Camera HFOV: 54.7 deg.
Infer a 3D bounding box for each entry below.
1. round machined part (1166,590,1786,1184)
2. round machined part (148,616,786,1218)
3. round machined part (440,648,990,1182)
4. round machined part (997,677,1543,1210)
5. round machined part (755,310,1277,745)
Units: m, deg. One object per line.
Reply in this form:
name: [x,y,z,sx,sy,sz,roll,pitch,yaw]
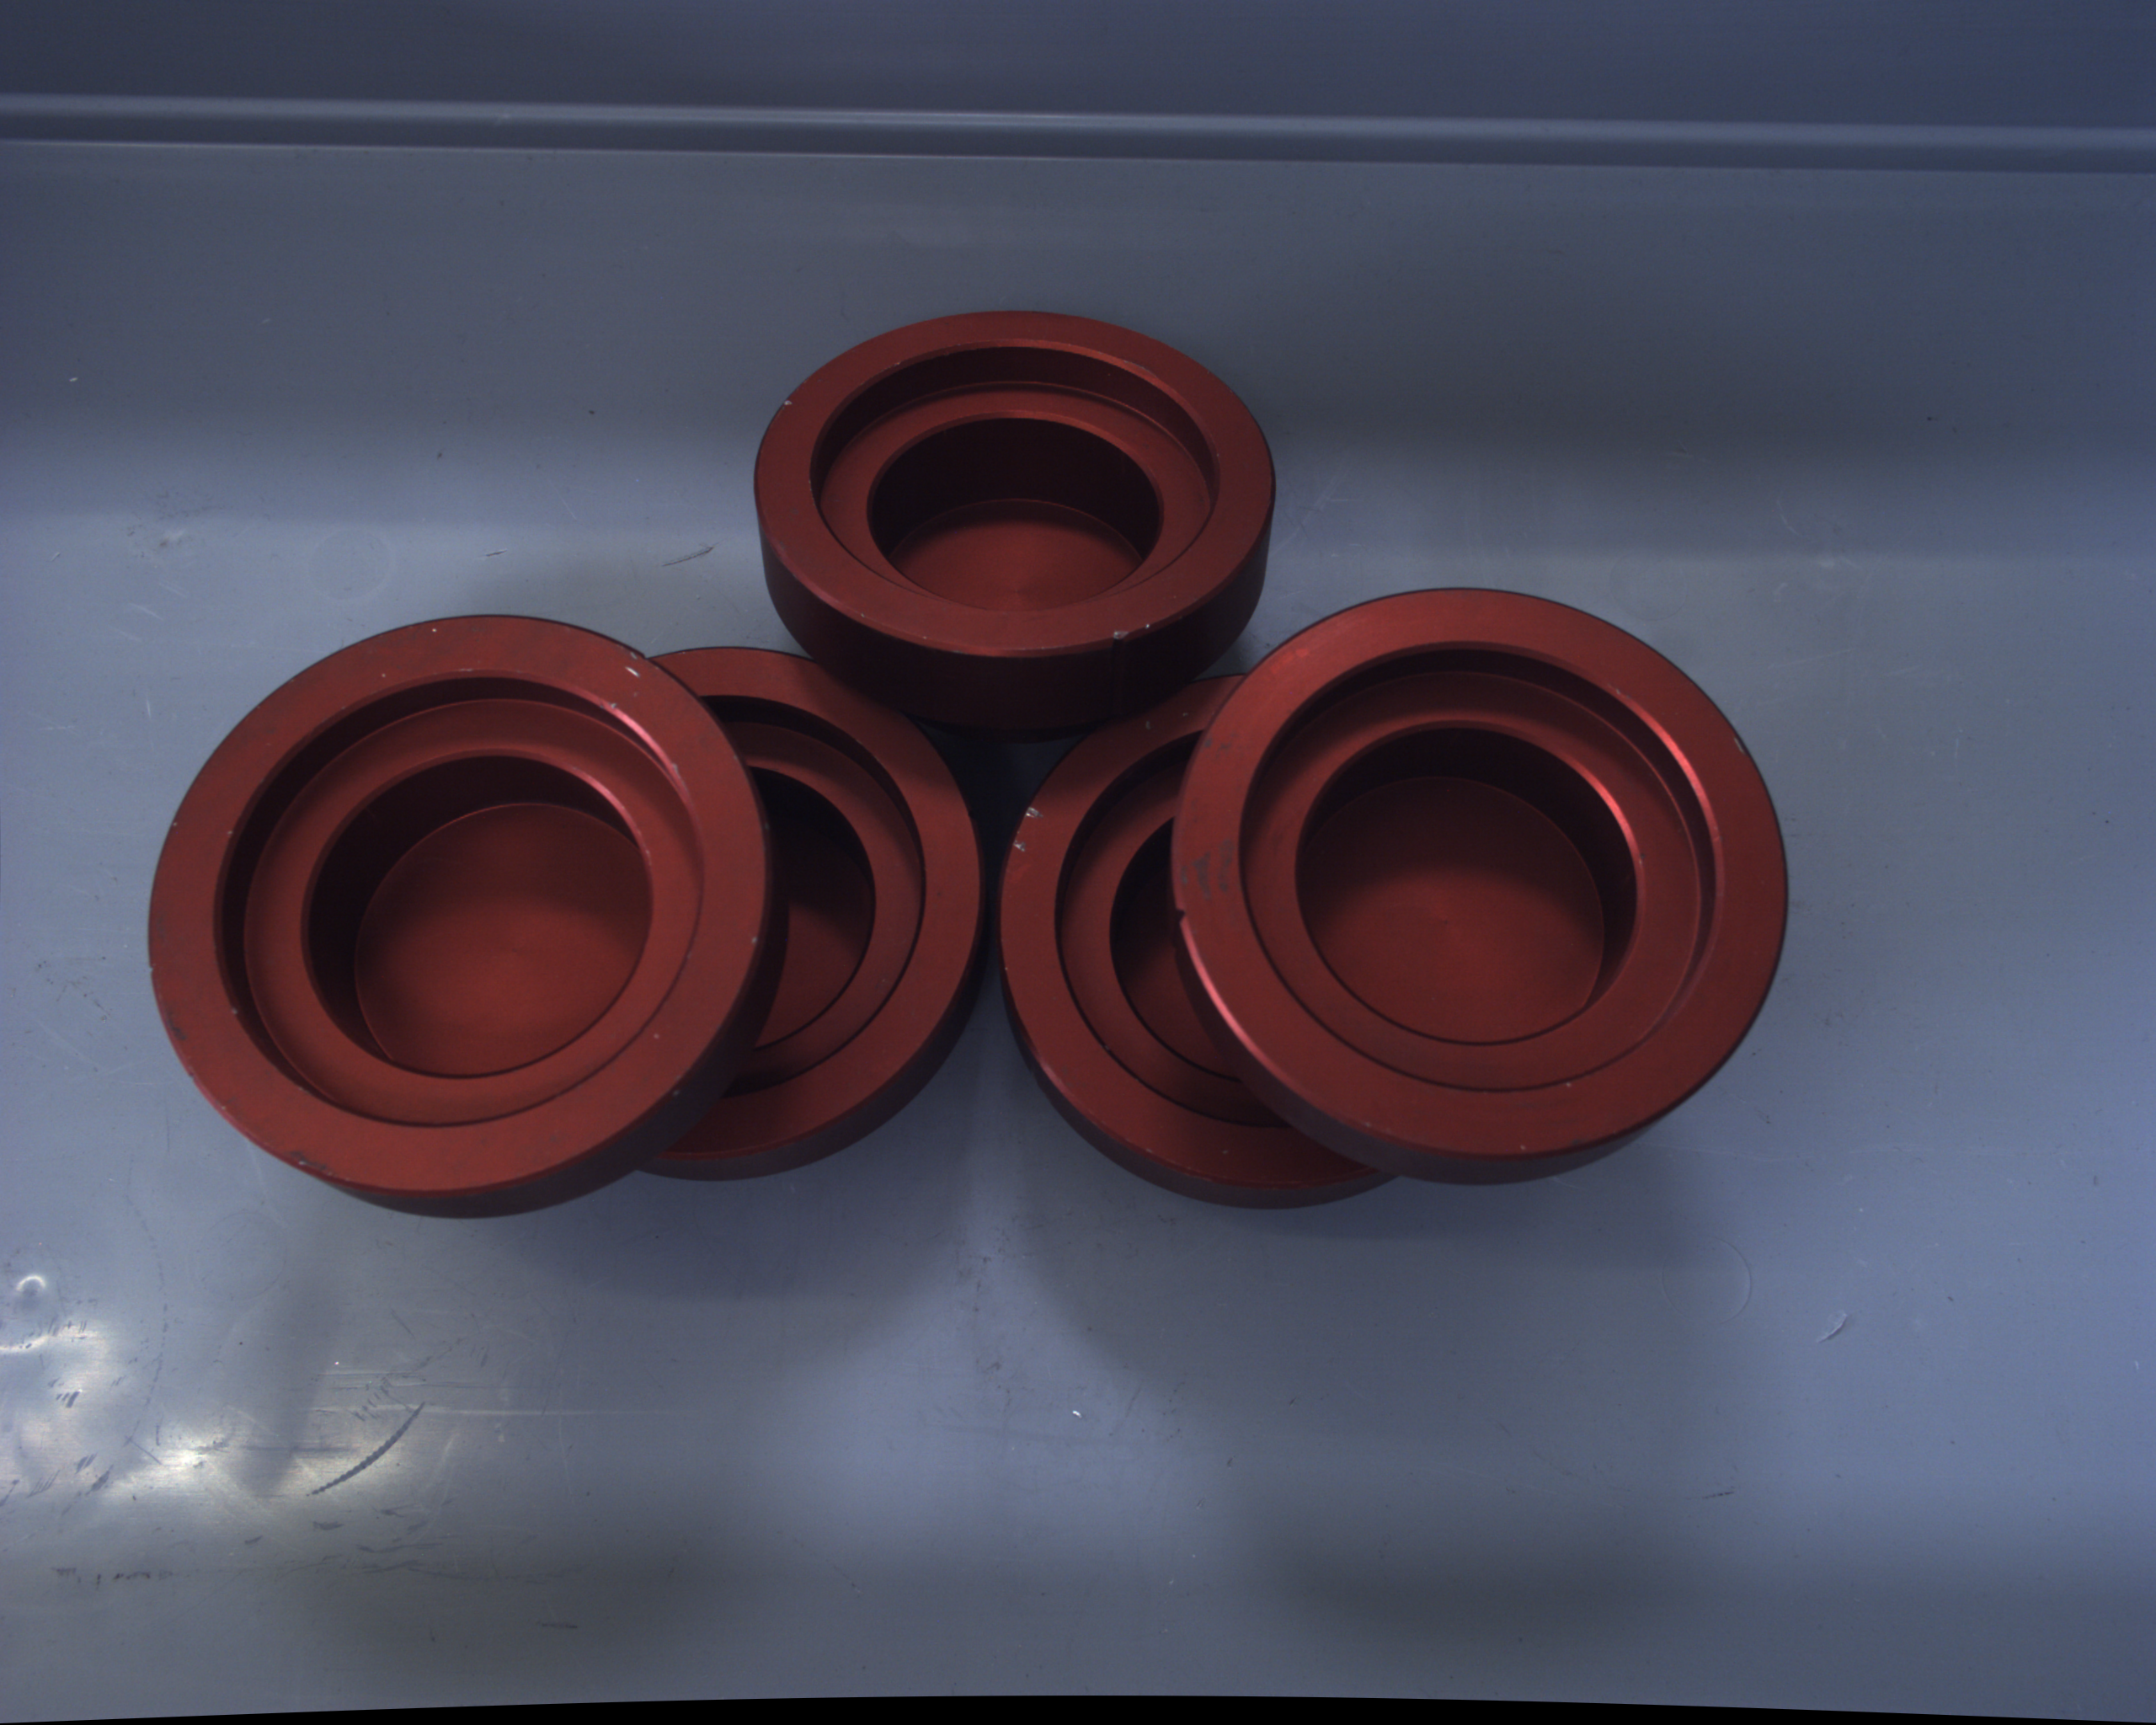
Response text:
round machined part: [0.064,0.007,0.353,0.099,0.042,0.098,0,70,0]
round machined part: [-0.098,0.011,0.350,0.099,0.042,0.098,0,70,0]
round machined part: [-0.066,0.012,0.394,0.099,0.042,0.098,0,70,0]
round machined part: [0.035,0.017,0.393,0.099,0.042,0.098,0,70,0]
round machined part: [-0.012,-0.062,0.411,0.099,0.042,0.098,1,52,-1]
